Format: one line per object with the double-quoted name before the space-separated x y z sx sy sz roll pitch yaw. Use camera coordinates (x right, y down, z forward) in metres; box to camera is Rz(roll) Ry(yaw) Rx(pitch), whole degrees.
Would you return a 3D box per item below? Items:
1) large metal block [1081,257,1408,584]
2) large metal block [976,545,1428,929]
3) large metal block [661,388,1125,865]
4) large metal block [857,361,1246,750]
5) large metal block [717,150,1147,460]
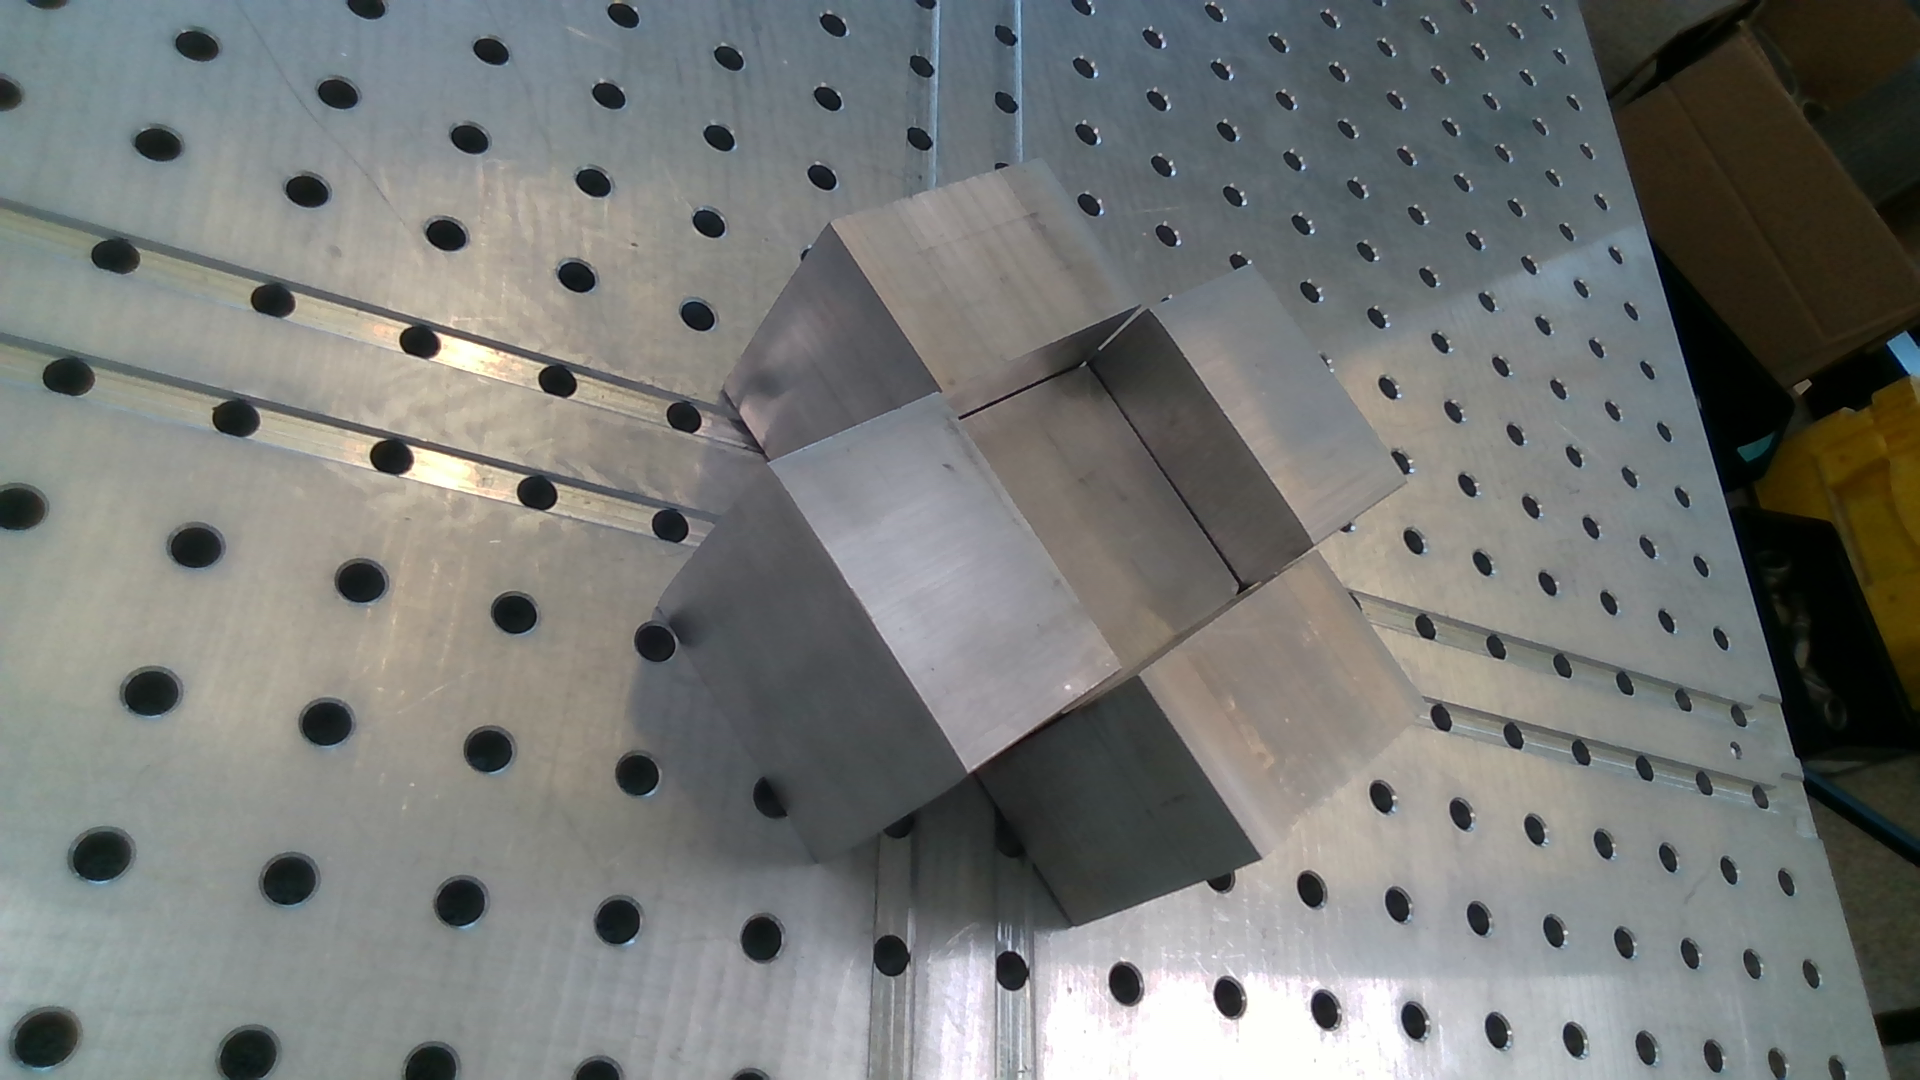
"large metal block" 0.071 -0.024 0.418 0.050 0.080 0.080 -29 82 -39
"large metal block" 0.063 0.054 0.371 0.080 0.080 0.050 -29 82 -38
"large metal block" -0.020 0.023 0.337 0.050 0.080 0.080 -27 81 -38
"large metal block" 0.020 0.006 0.388 0.080 0.050 0.080 -28 80 -40
"large metal block" -0.009 -0.055 0.384 0.080 0.080 0.050 -29 82 -38
